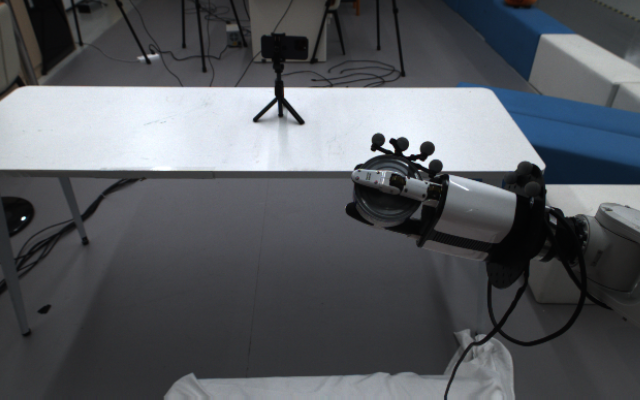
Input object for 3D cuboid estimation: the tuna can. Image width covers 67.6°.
[{"bbox_3d":[0.085,-0.014,0.601,0.085,0.034,0.085,0,72,0],"label":"tuna can"}]
